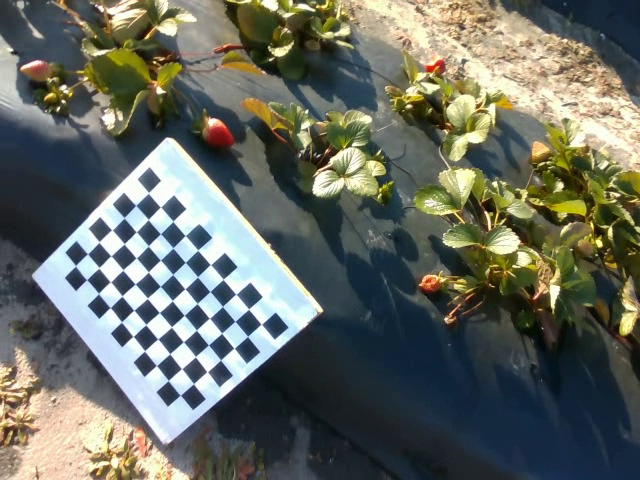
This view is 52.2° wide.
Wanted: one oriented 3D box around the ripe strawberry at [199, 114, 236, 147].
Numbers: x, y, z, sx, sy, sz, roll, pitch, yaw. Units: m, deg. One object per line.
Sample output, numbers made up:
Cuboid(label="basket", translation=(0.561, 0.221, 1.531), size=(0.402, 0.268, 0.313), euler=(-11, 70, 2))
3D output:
Cuboid(label="ripe strawberry", translation=(-0.143, -0.154, 0.949), size=(0.063, 0.045, 0.043), euler=(31, 7, 6))
